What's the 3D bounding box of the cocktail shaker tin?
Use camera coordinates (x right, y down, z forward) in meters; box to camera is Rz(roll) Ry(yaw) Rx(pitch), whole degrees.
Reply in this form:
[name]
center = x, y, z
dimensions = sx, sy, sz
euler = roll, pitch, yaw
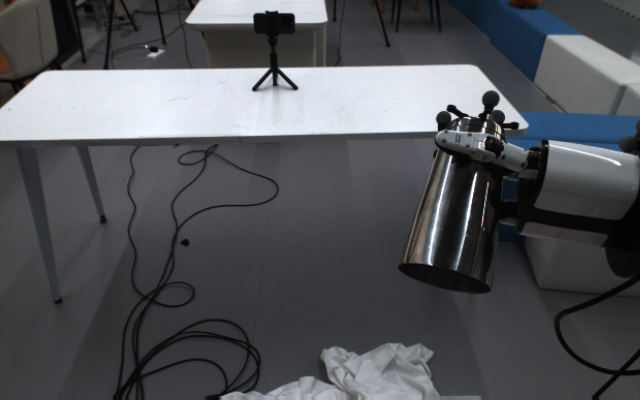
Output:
[cocktail shaker tin]
center = 0.148, -0.001, 0.510
dimensions = 0.093, 0.093, 0.170
euler = 13, 71, 16
